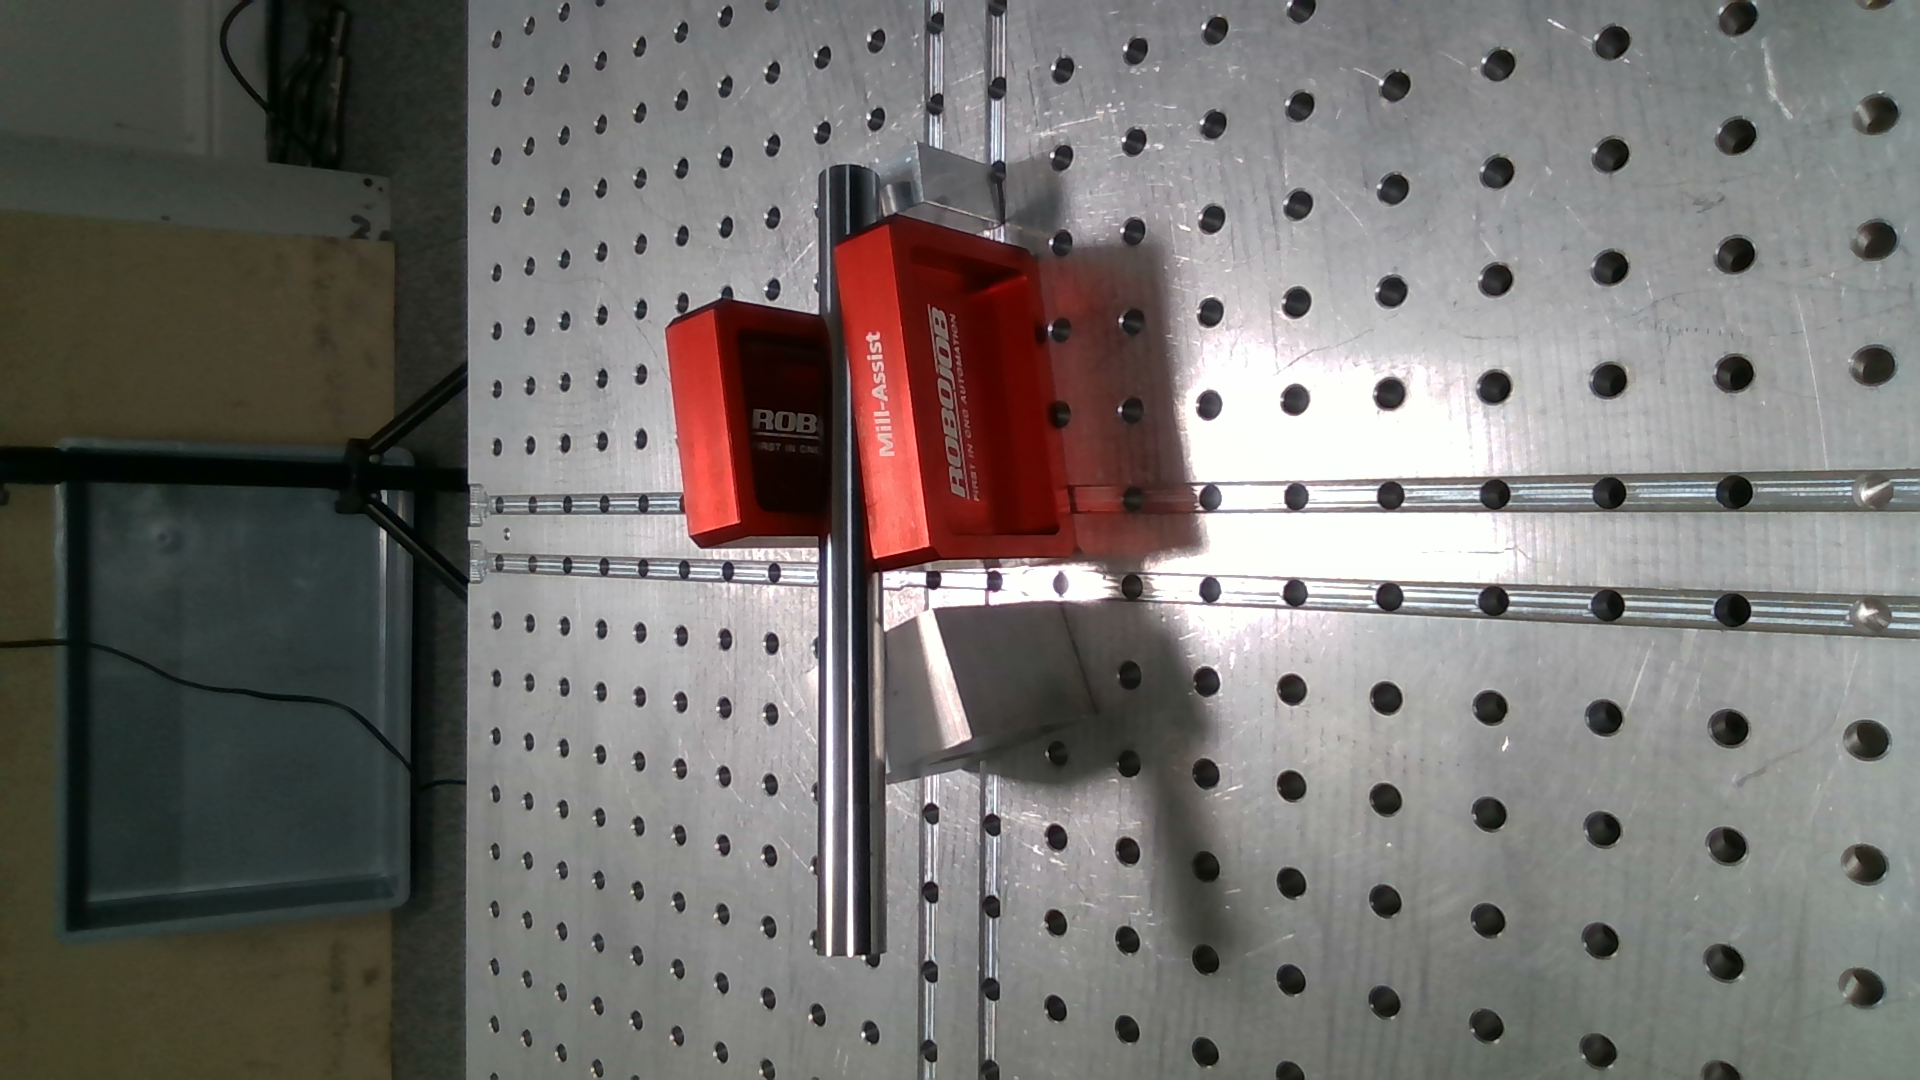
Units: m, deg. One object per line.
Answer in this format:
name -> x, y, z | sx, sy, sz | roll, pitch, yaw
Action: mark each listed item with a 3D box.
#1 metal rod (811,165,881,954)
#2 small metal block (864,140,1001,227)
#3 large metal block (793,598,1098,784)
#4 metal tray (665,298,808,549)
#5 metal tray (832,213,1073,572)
metal rod -> -0.043, 0.001, 0.523 | 0.025, 0.025, 0.299 | -12, 73, 40
small metal block -> -0.019, -0.144, 0.583 | 0.050, 0.050, 0.025 | -11, 83, 40
large metal block -> -0.006, 0.062, 0.553 | 0.080, 0.080, 0.050 | -29, 72, 37
metal tray -> -0.055, -0.044, 0.562 | 0.030, 0.130, 0.090 | -12, 82, 40
metal tray -> -0.001, -0.055, 0.542 | 0.030, 0.090, 0.130 | -12, 83, 41
